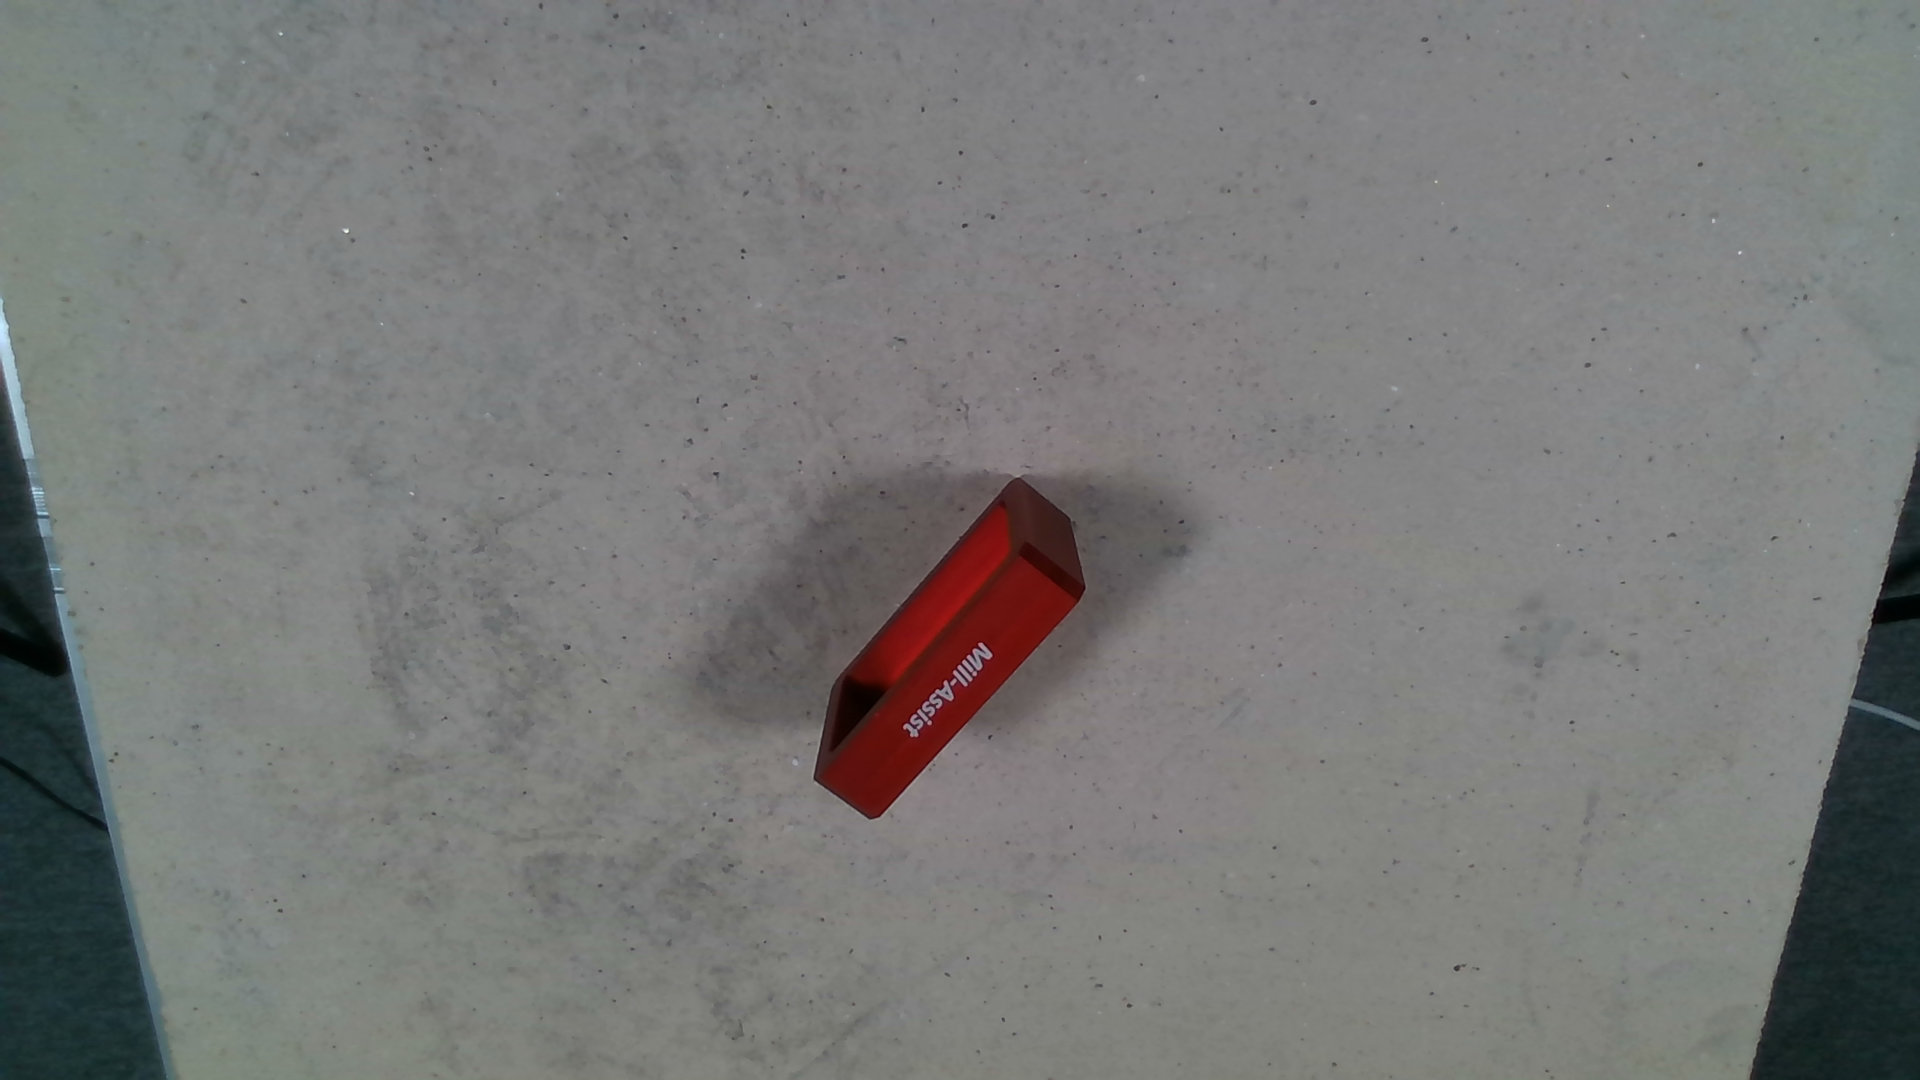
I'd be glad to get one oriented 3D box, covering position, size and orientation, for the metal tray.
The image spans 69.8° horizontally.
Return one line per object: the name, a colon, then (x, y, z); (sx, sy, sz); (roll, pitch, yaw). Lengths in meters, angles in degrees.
metal tray: (-0.006, 0.042, 0.566); (0.030, 0.090, 0.130); (38, 106, -13)
